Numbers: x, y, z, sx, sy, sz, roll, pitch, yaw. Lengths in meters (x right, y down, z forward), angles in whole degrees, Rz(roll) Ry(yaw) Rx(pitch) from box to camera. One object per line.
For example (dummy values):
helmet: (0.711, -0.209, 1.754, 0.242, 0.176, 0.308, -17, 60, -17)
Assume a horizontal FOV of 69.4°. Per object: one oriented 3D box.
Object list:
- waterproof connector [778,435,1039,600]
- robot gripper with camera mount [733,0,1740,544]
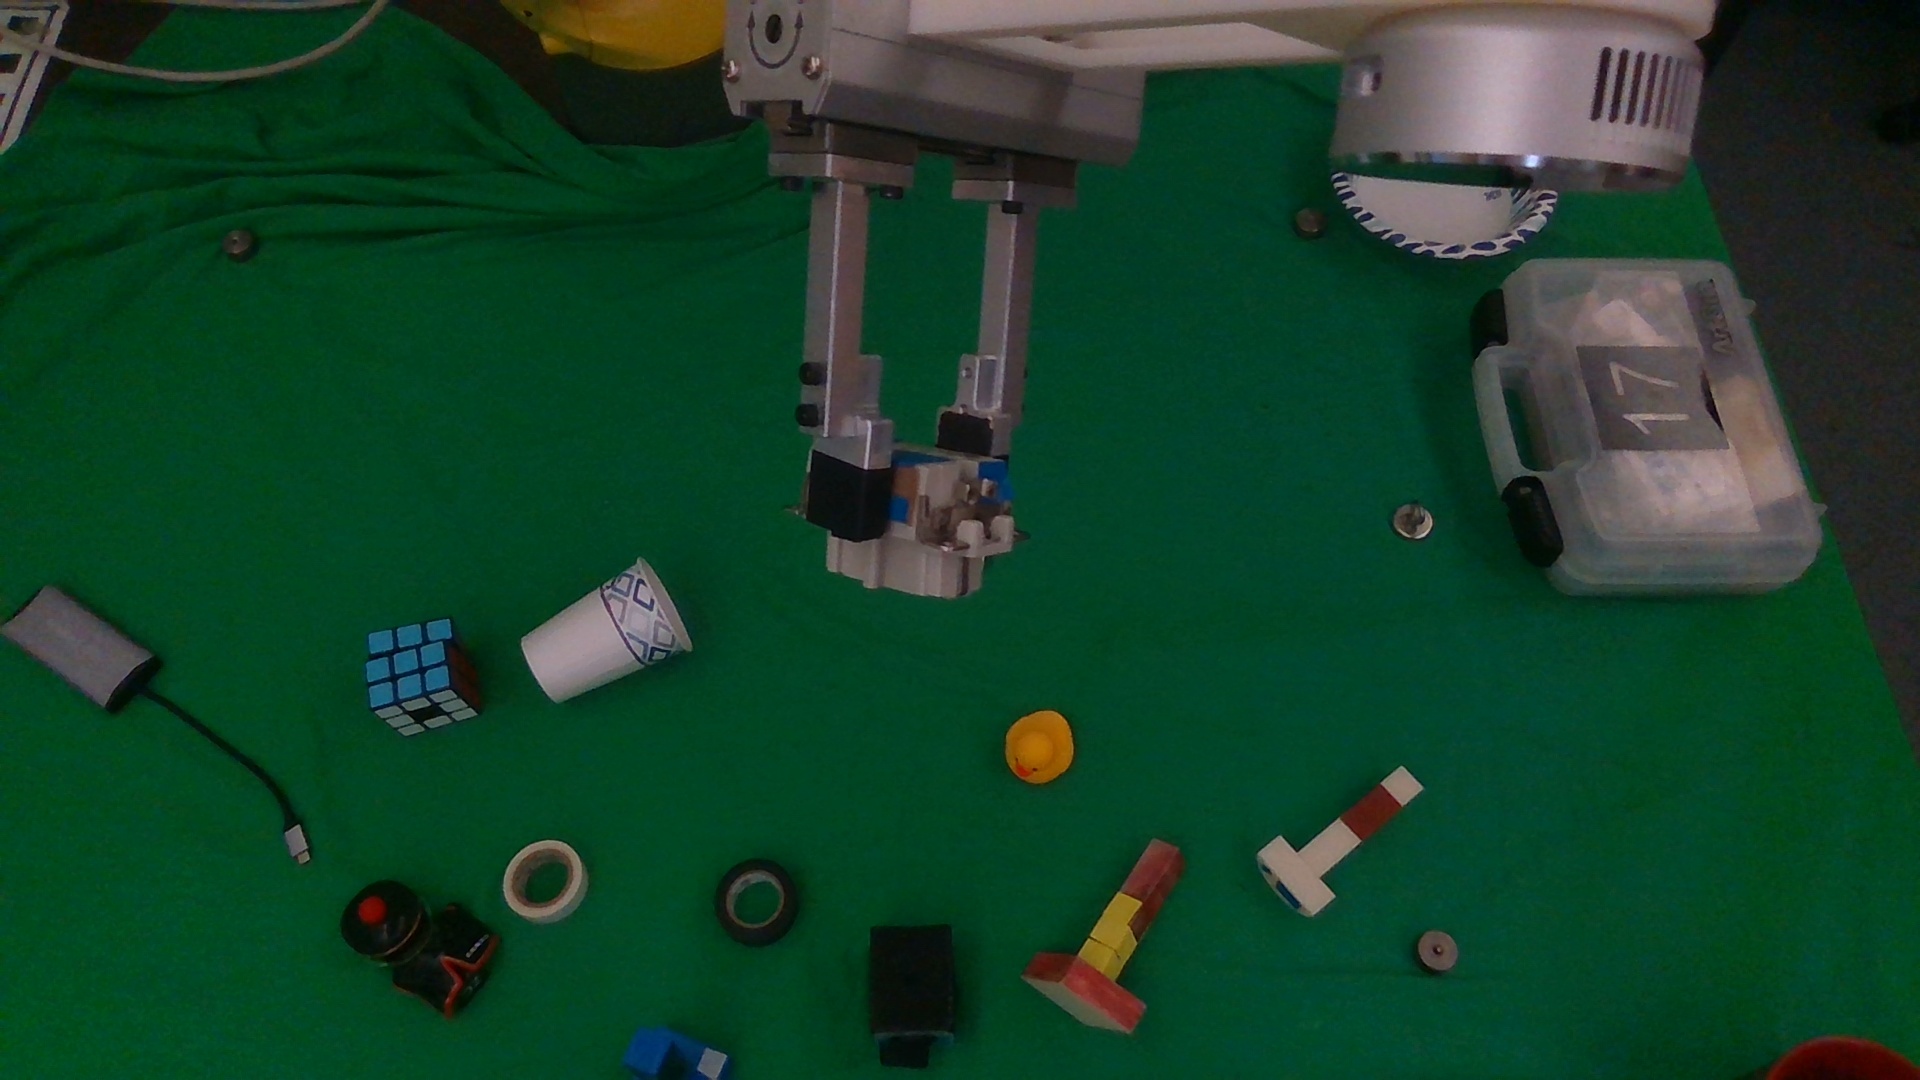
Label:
waterproof connector: (-0.014, -0.006, 0.361, 0.065, 0.034, 0.037, 13, 101, 37)
robot gripper with camera mount: (0.056, -0.067, 0.297, 0.194, 0.158, 0.118, 13, 13, 40)
